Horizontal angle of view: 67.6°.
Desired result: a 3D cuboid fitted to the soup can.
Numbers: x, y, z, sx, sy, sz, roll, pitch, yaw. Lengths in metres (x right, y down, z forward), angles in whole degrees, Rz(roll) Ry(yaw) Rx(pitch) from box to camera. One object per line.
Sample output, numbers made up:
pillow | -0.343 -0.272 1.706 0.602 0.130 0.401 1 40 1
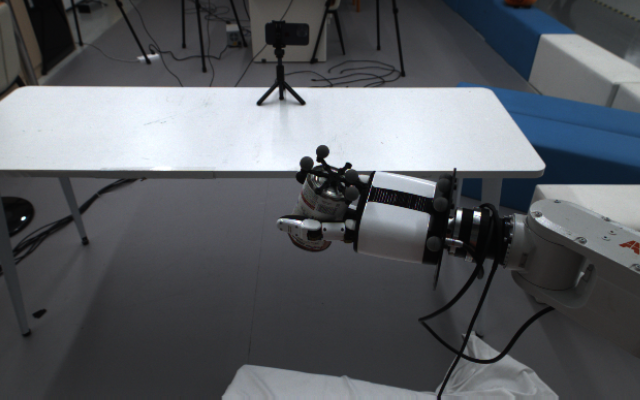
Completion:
soup can | 0.001 0.012 0.651 0.067 0.101 0.067 14 39 -12
